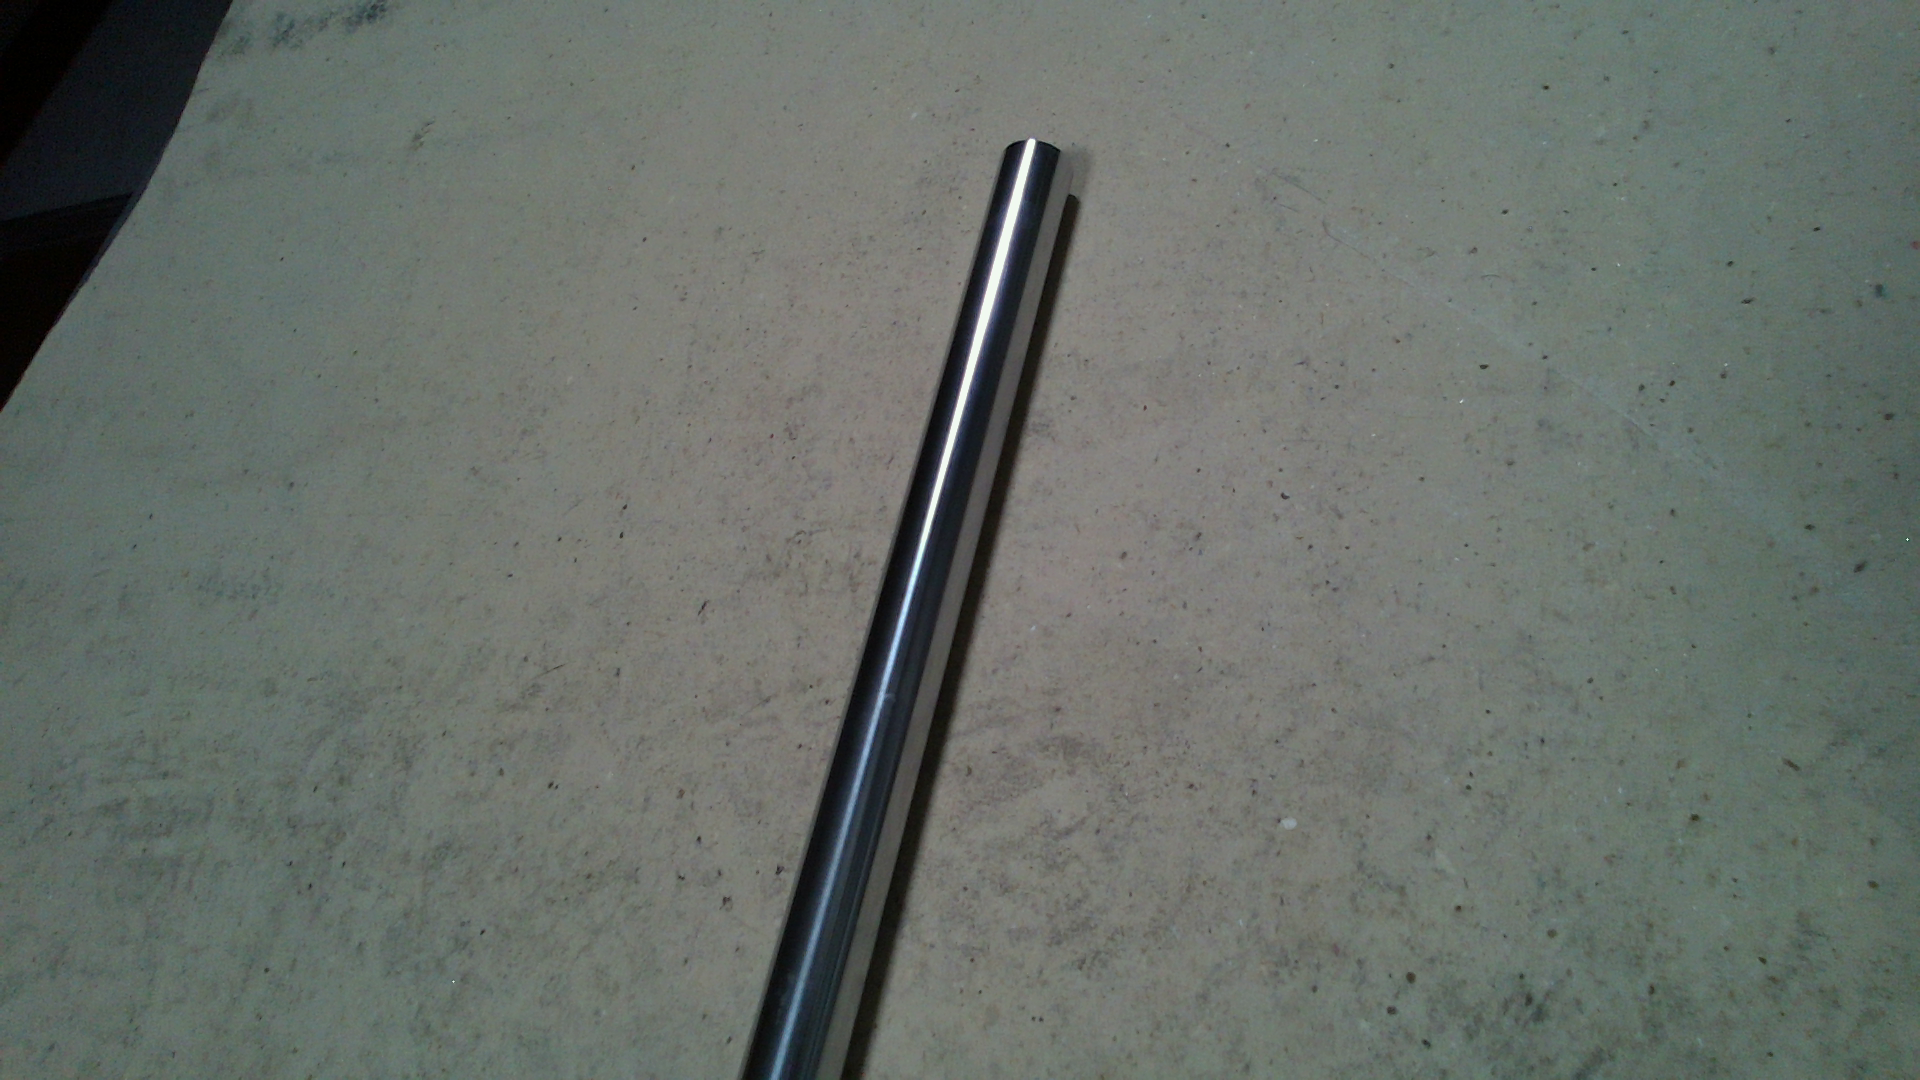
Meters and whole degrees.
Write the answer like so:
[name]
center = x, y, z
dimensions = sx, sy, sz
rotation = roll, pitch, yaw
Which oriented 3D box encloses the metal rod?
[metal rod]
center = -0.010, 0.008, 0.394
dimensions = 0.025, 0.025, 0.300
rotation = 0, 62, 29
